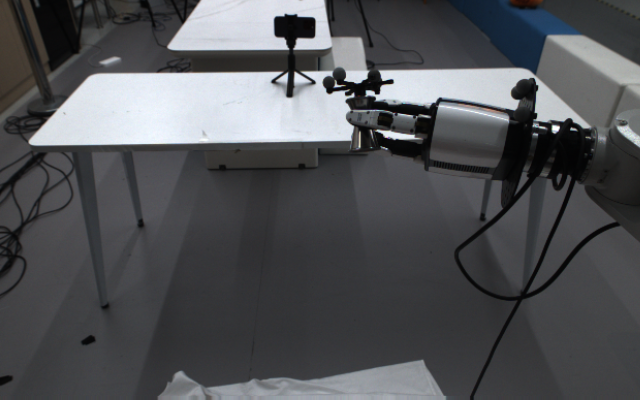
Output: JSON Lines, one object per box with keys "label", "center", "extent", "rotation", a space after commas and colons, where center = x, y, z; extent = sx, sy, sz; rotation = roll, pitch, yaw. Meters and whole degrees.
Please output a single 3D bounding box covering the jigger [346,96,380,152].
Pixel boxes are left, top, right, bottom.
{"label": "jigger", "center": [0.055, -0.099, 0.633], "extent": [0.043, 0.071, 0.043], "rotation": [-4, 1, 0]}
